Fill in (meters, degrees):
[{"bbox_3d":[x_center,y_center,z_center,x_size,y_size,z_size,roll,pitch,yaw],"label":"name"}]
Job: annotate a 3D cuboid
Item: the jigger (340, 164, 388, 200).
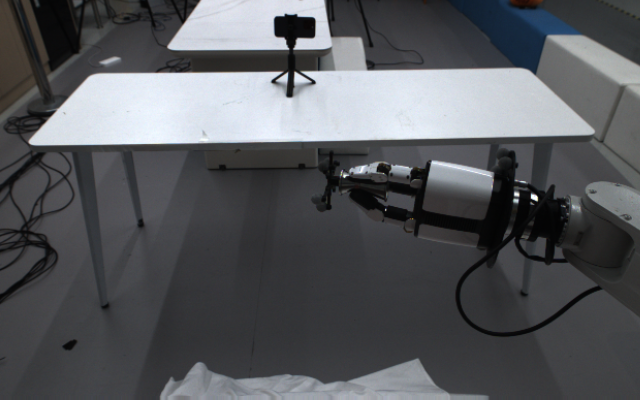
[{"bbox_3d":[0.071,-0.027,0.695,0.071,0.043,0.043,7,35,11],"label":"jigger"}]
